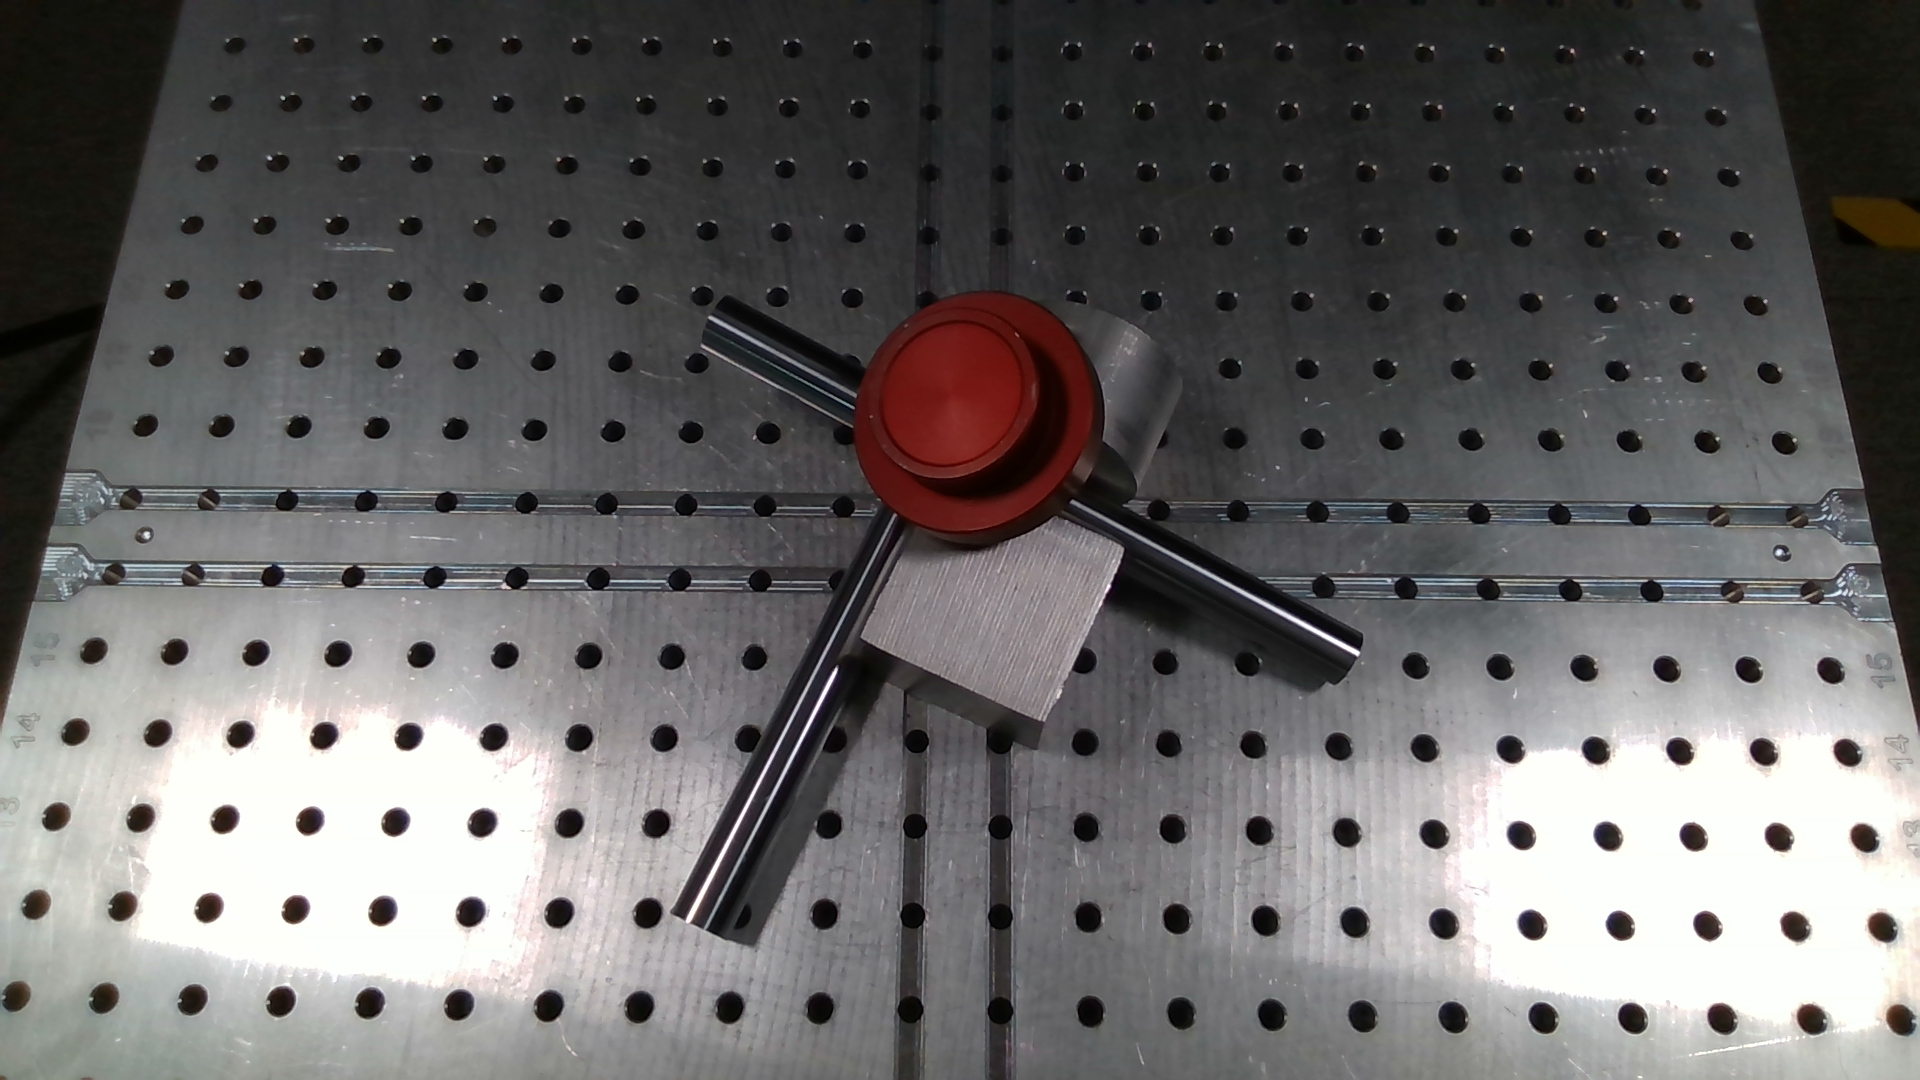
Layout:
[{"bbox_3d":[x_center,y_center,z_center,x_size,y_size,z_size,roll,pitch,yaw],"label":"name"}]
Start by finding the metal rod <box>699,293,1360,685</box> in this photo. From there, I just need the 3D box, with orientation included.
[{"bbox_3d":[0.028,-0.022,0.578,0.300,0.025,0.025,28,73,2],"label":"metal rod"}]

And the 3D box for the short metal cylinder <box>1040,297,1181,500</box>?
[{"bbox_3d":[0.047,-0.058,0.581,0.080,0.080,0.050,23,72,8],"label":"short metal cylinder"}]

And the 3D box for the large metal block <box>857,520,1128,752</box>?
[{"bbox_3d":[0.013,0.029,0.563,0.080,0.050,0.080,24,72,8],"label":"large metal block"}]

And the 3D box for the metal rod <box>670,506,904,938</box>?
[{"bbox_3d":[-0.039,0.022,0.582,0.025,0.025,0.299,23,72,8],"label":"metal rod"}]

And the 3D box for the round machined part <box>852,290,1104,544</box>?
[{"bbox_3d":[0.003,-0.050,0.530,0.098,0.042,0.098,-5,77,19],"label":"round machined part"}]
